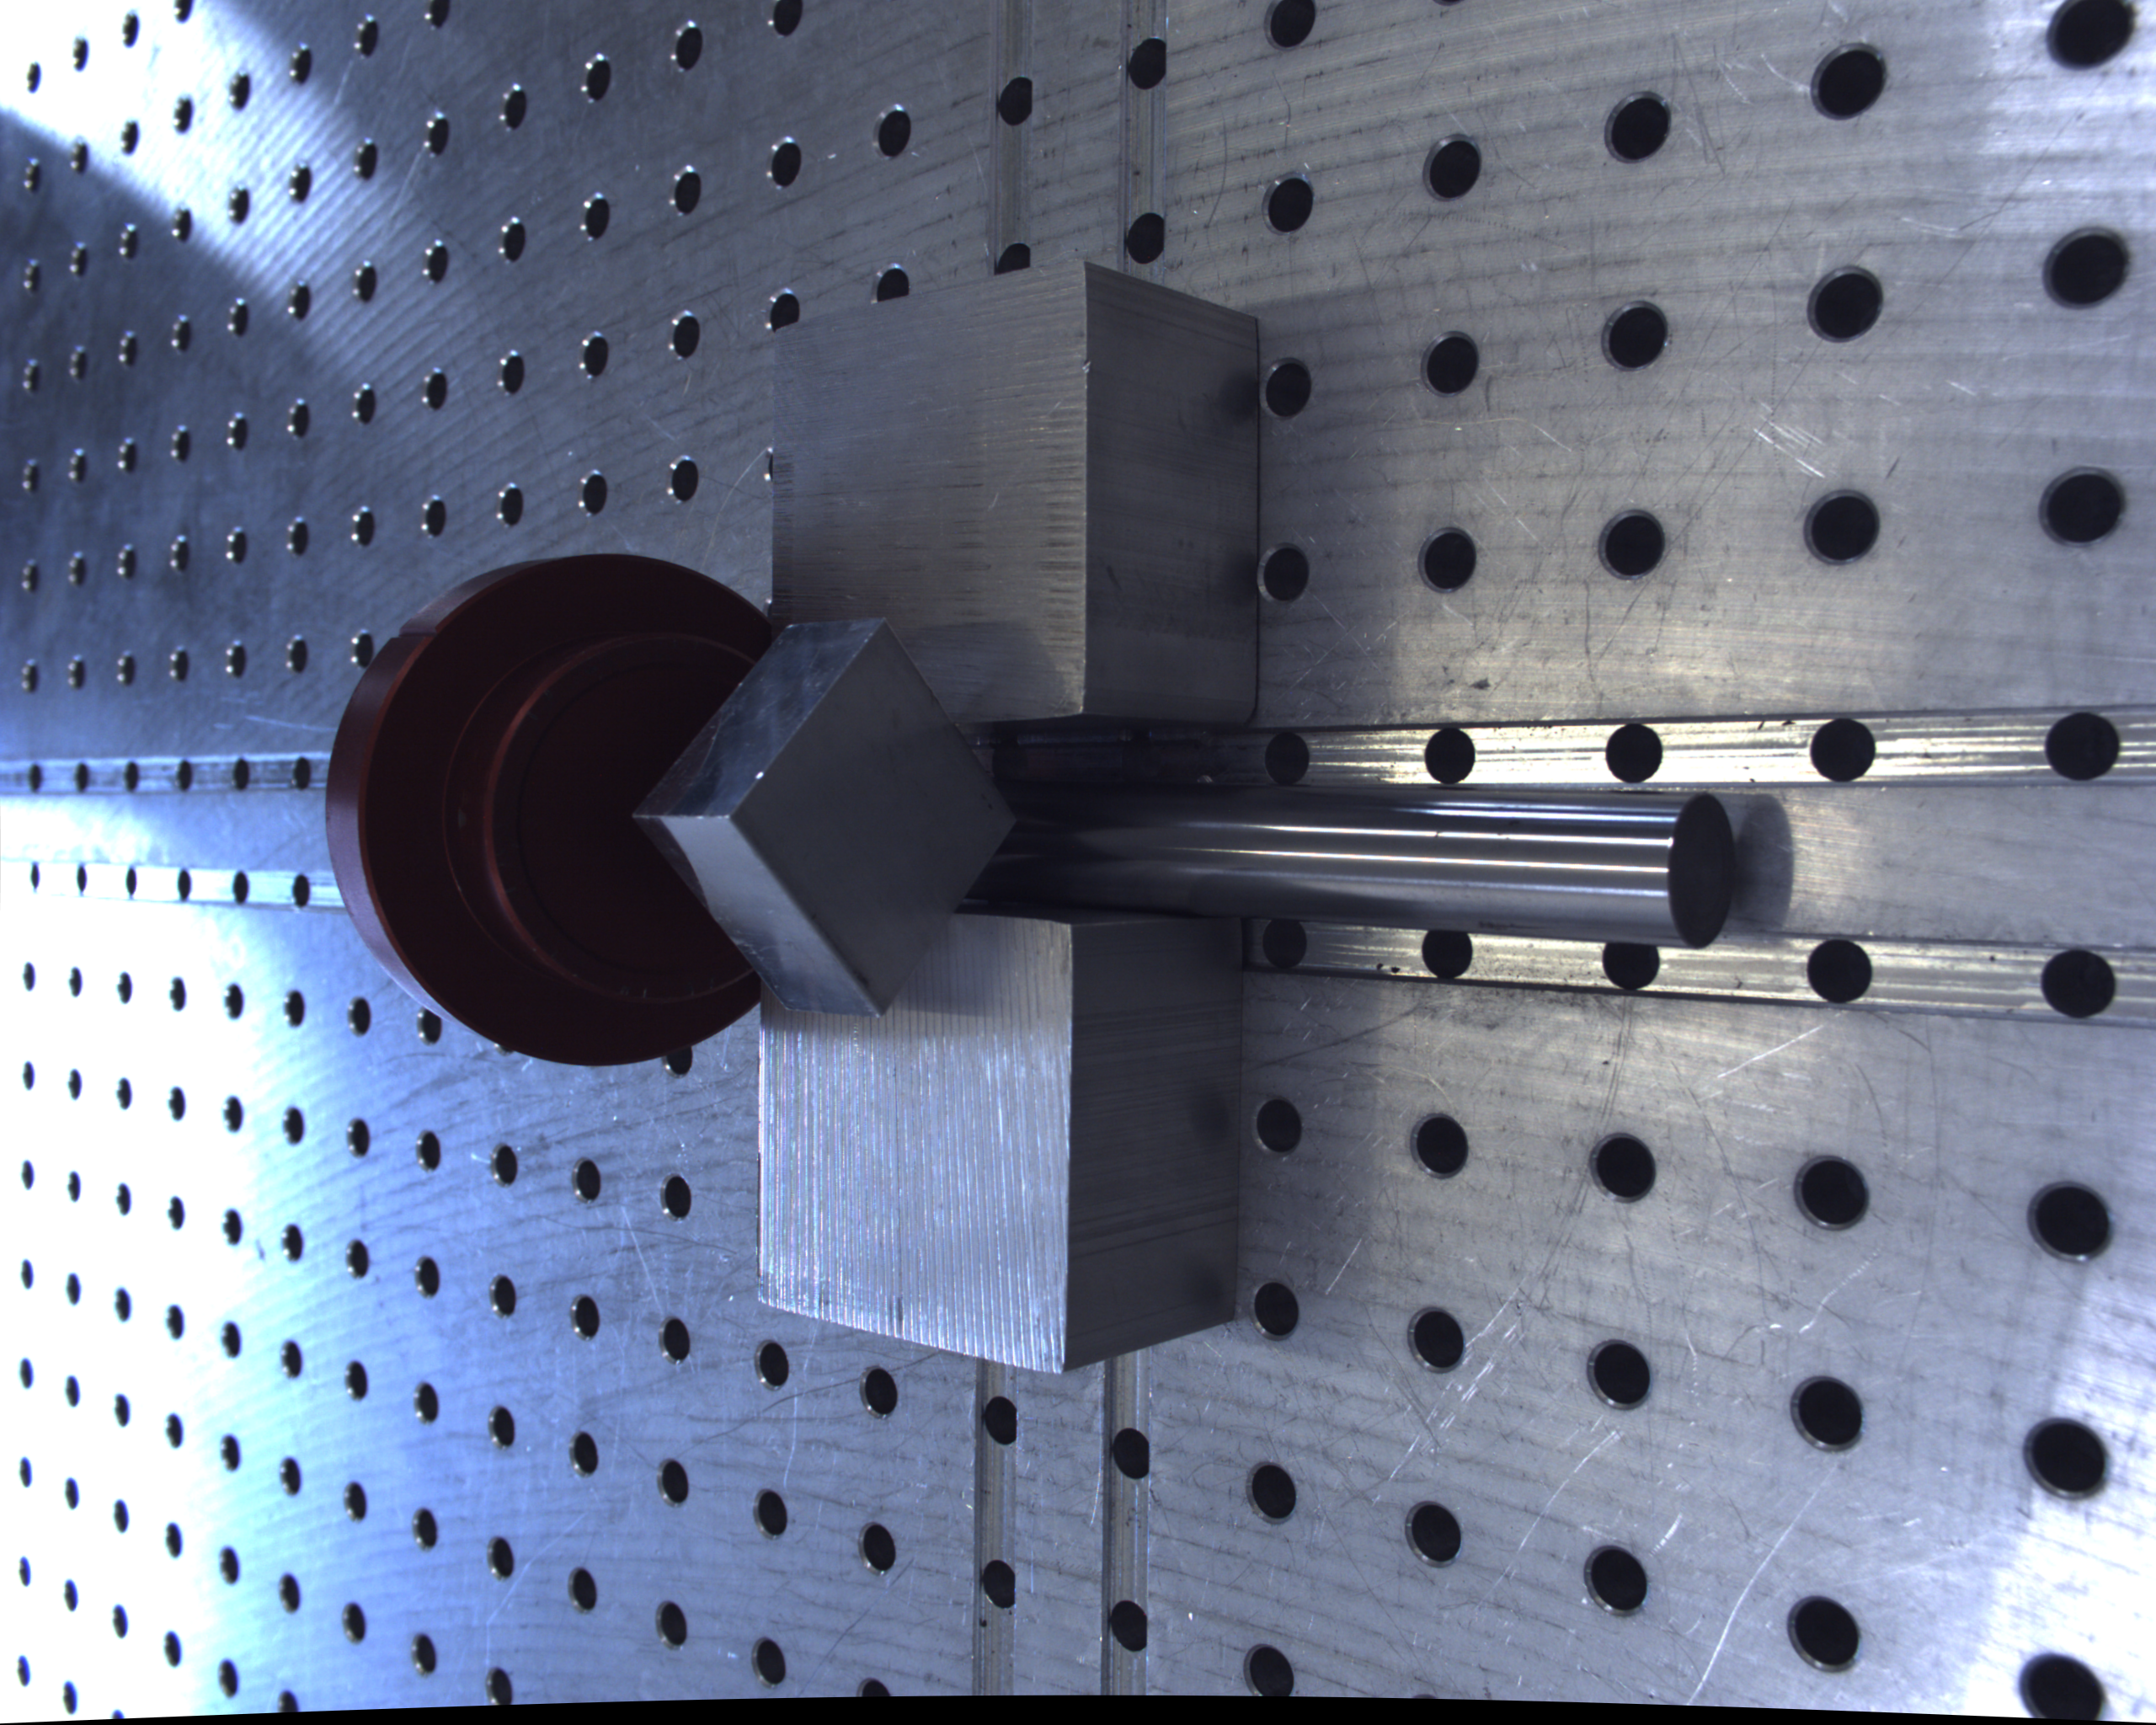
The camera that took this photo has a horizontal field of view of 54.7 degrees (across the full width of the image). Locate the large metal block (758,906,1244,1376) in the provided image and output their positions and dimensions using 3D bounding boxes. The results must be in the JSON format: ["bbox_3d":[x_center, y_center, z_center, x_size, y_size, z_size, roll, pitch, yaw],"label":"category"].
[{"bbox_3d":[-0.016,0.048,0.406,0.080,0.050,0.079,2,91,40],"label":"large metal block"}]

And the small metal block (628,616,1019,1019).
[{"bbox_3d":[-0.044,-0.008,0.372,0.025,0.050,0.050,1,47,40],"label":"small metal block"}]

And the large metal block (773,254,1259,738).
[{"bbox_3d":[-0.013,-0.066,0.404,0.080,0.050,0.079,1,91,40],"label":"large metal block"}]

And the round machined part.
[{"bbox_3d":[-0.087,-0.010,0.396,0.042,0.099,0.097,7,95,54],"label":"round machined part"}]

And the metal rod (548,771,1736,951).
[{"bbox_3d":[-0.017,-0.004,0.423,0.300,0.025,0.025,3,92,40],"label":"metal rod"}]
